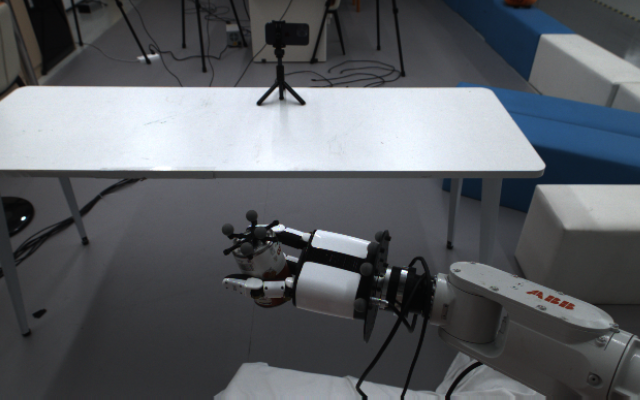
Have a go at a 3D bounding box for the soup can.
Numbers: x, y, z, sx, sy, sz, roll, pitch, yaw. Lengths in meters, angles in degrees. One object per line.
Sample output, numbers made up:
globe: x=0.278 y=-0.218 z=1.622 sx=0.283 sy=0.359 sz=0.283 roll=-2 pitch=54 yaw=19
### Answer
soup can: x=-0.079 y=0.100 z=0.708 sx=0.067 sy=0.101 sz=0.067 roll=-14 pitch=31 yaw=8
